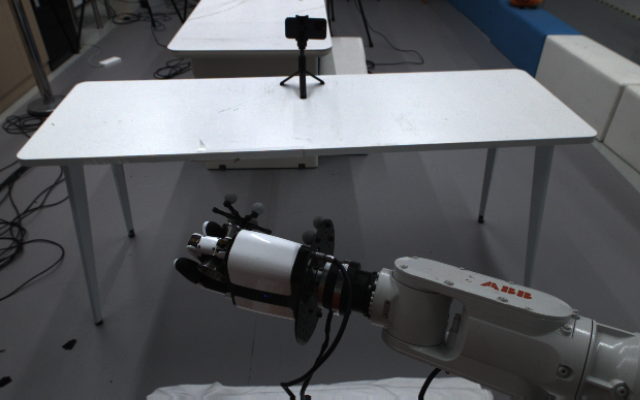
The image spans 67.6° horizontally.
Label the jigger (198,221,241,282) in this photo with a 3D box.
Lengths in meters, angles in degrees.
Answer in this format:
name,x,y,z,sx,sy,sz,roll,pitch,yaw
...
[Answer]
name,x,y,z,sx,sy,sz,roll,pitch,yaw
jigger,-0.126,0.067,0.640,0.043,0.043,0.071,15,58,18
